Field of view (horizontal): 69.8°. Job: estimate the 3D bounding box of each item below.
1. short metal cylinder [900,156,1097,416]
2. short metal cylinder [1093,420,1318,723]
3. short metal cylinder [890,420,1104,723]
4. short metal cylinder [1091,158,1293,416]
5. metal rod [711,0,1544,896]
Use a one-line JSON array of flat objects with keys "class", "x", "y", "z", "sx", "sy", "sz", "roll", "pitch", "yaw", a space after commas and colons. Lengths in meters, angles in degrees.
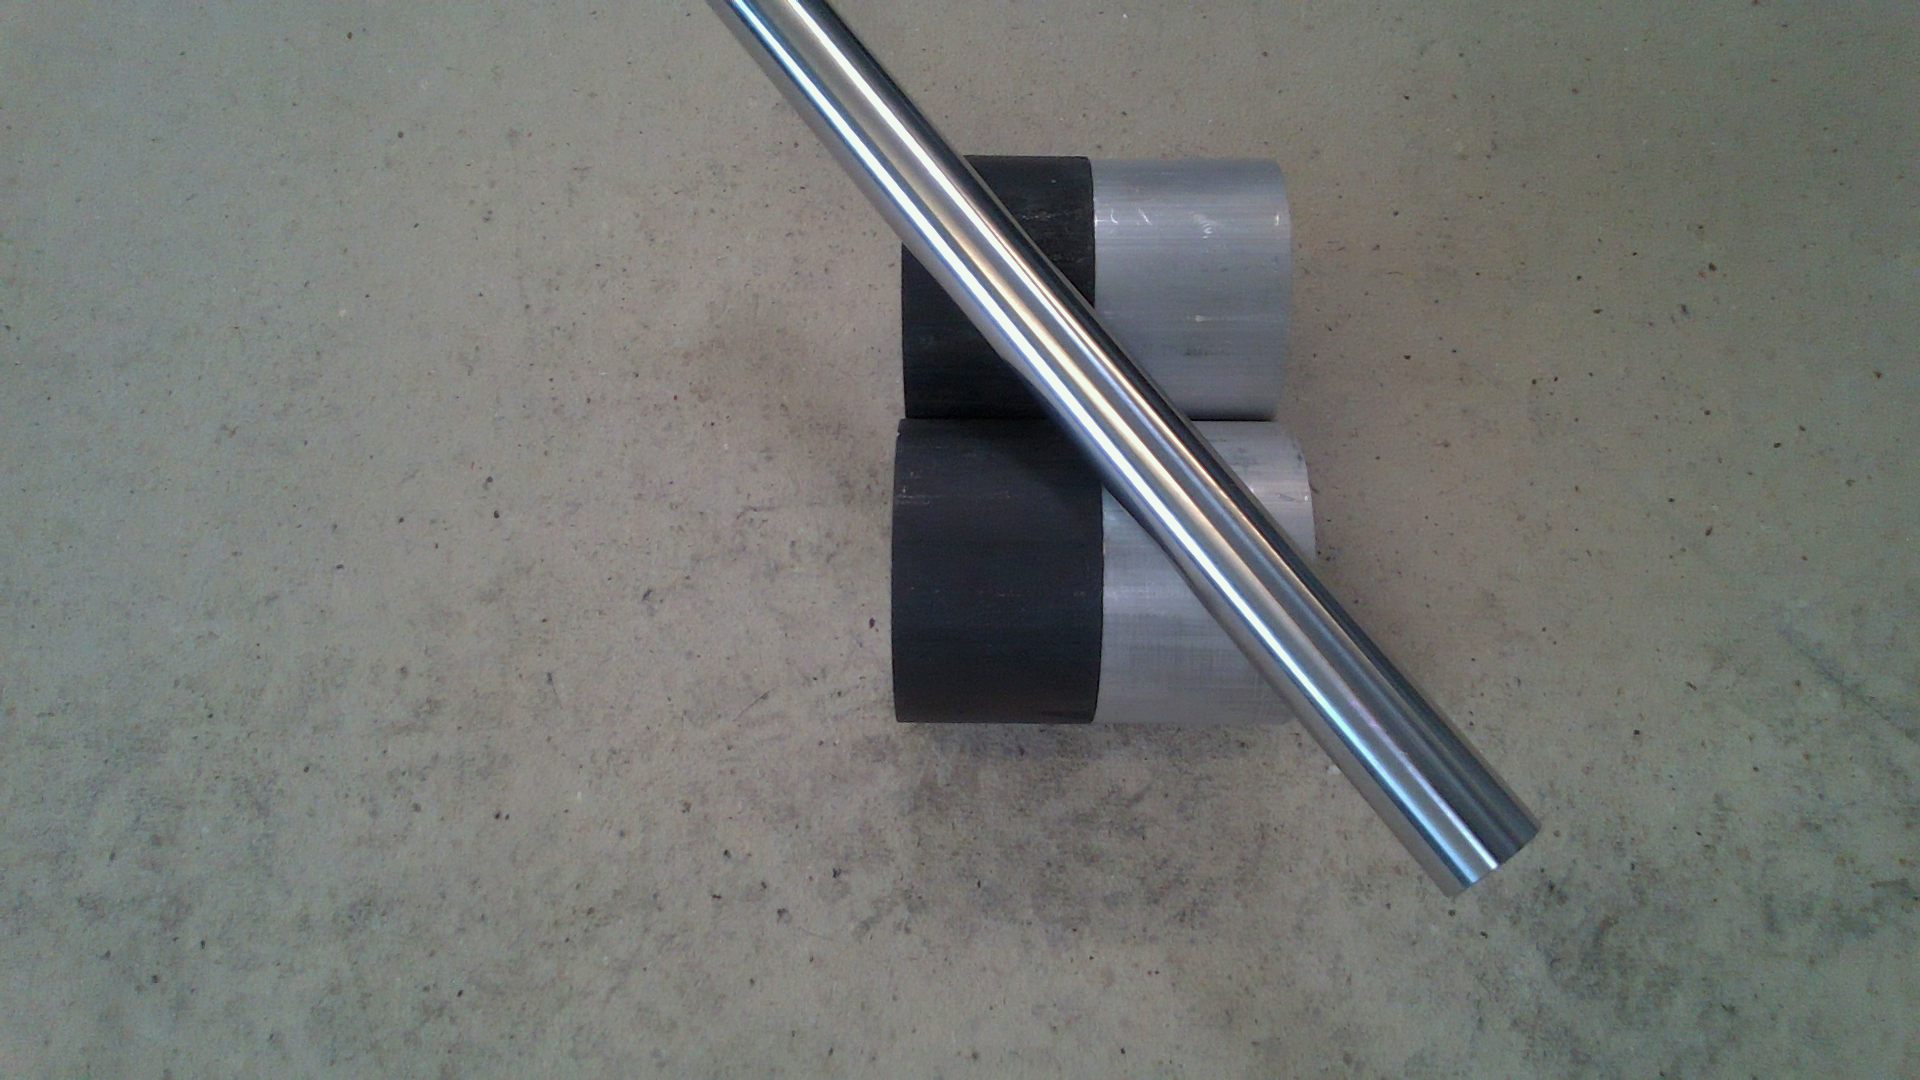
[{"class": "short metal cylinder", "x": 0.010, "y": -0.068, "z": 0.390, "sx": 0.050, "sy": 0.080, "sz": 0.080, "roll": 1, "pitch": 70, "yaw": 0}, {"class": "short metal cylinder", "x": 0.060, "y": 0.008, "z": 0.363, "sx": 0.050, "sy": 0.080, "sz": 0.080, "roll": 1, "pitch": 70, "yaw": 0}, {"class": "short metal cylinder", "x": 0.009, "y": 0.008, "z": 0.363, "sx": 0.050, "sy": 0.080, "sz": 0.080, "roll": 1, "pitch": 70, "yaw": 0}, {"class": "short metal cylinder", "x": 0.060, "y": -0.067, "z": 0.390, "sx": 0.050, "sy": 0.080, "sz": 0.080, "roll": 1, "pitch": 70, "yaw": 0}, {"class": "metal rod", "x": 0.023, "y": -0.047, "z": 0.327, "sx": 0.025, "sy": 0.025, "sz": 0.300, "roll": -35, "pitch": 74, "yaw": -12}]
